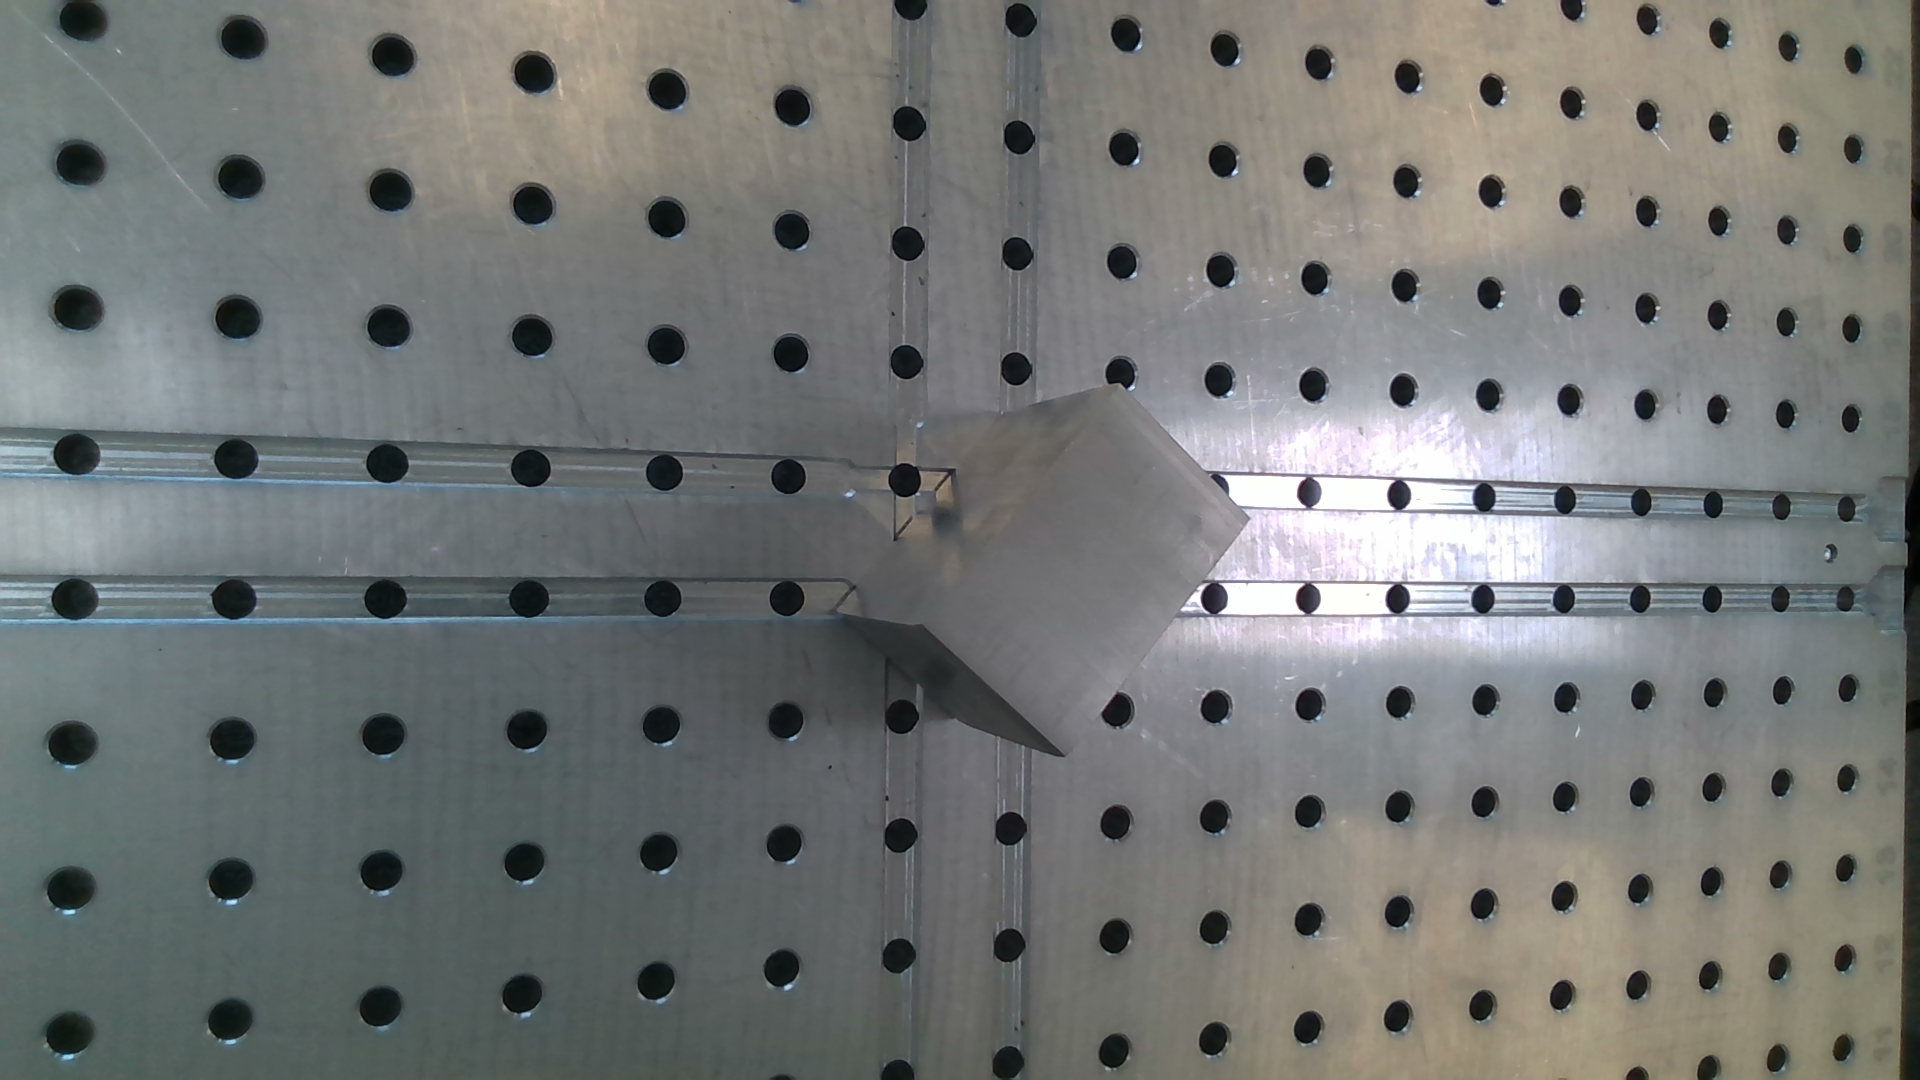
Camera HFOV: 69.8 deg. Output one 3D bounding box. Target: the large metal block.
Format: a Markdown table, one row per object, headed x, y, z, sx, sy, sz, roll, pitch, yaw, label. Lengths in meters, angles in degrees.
| x | y | z | sx | sy | sz | roll | pitch | yaw | label |
| --- | --- | --- | --- | --- | --- | --- | --- | --- | --- |
| 0.019 | 0.007 | 0.374 | 0.050 | 0.080 | 0.080 | 43 | 77 | -15 | large metal block |
